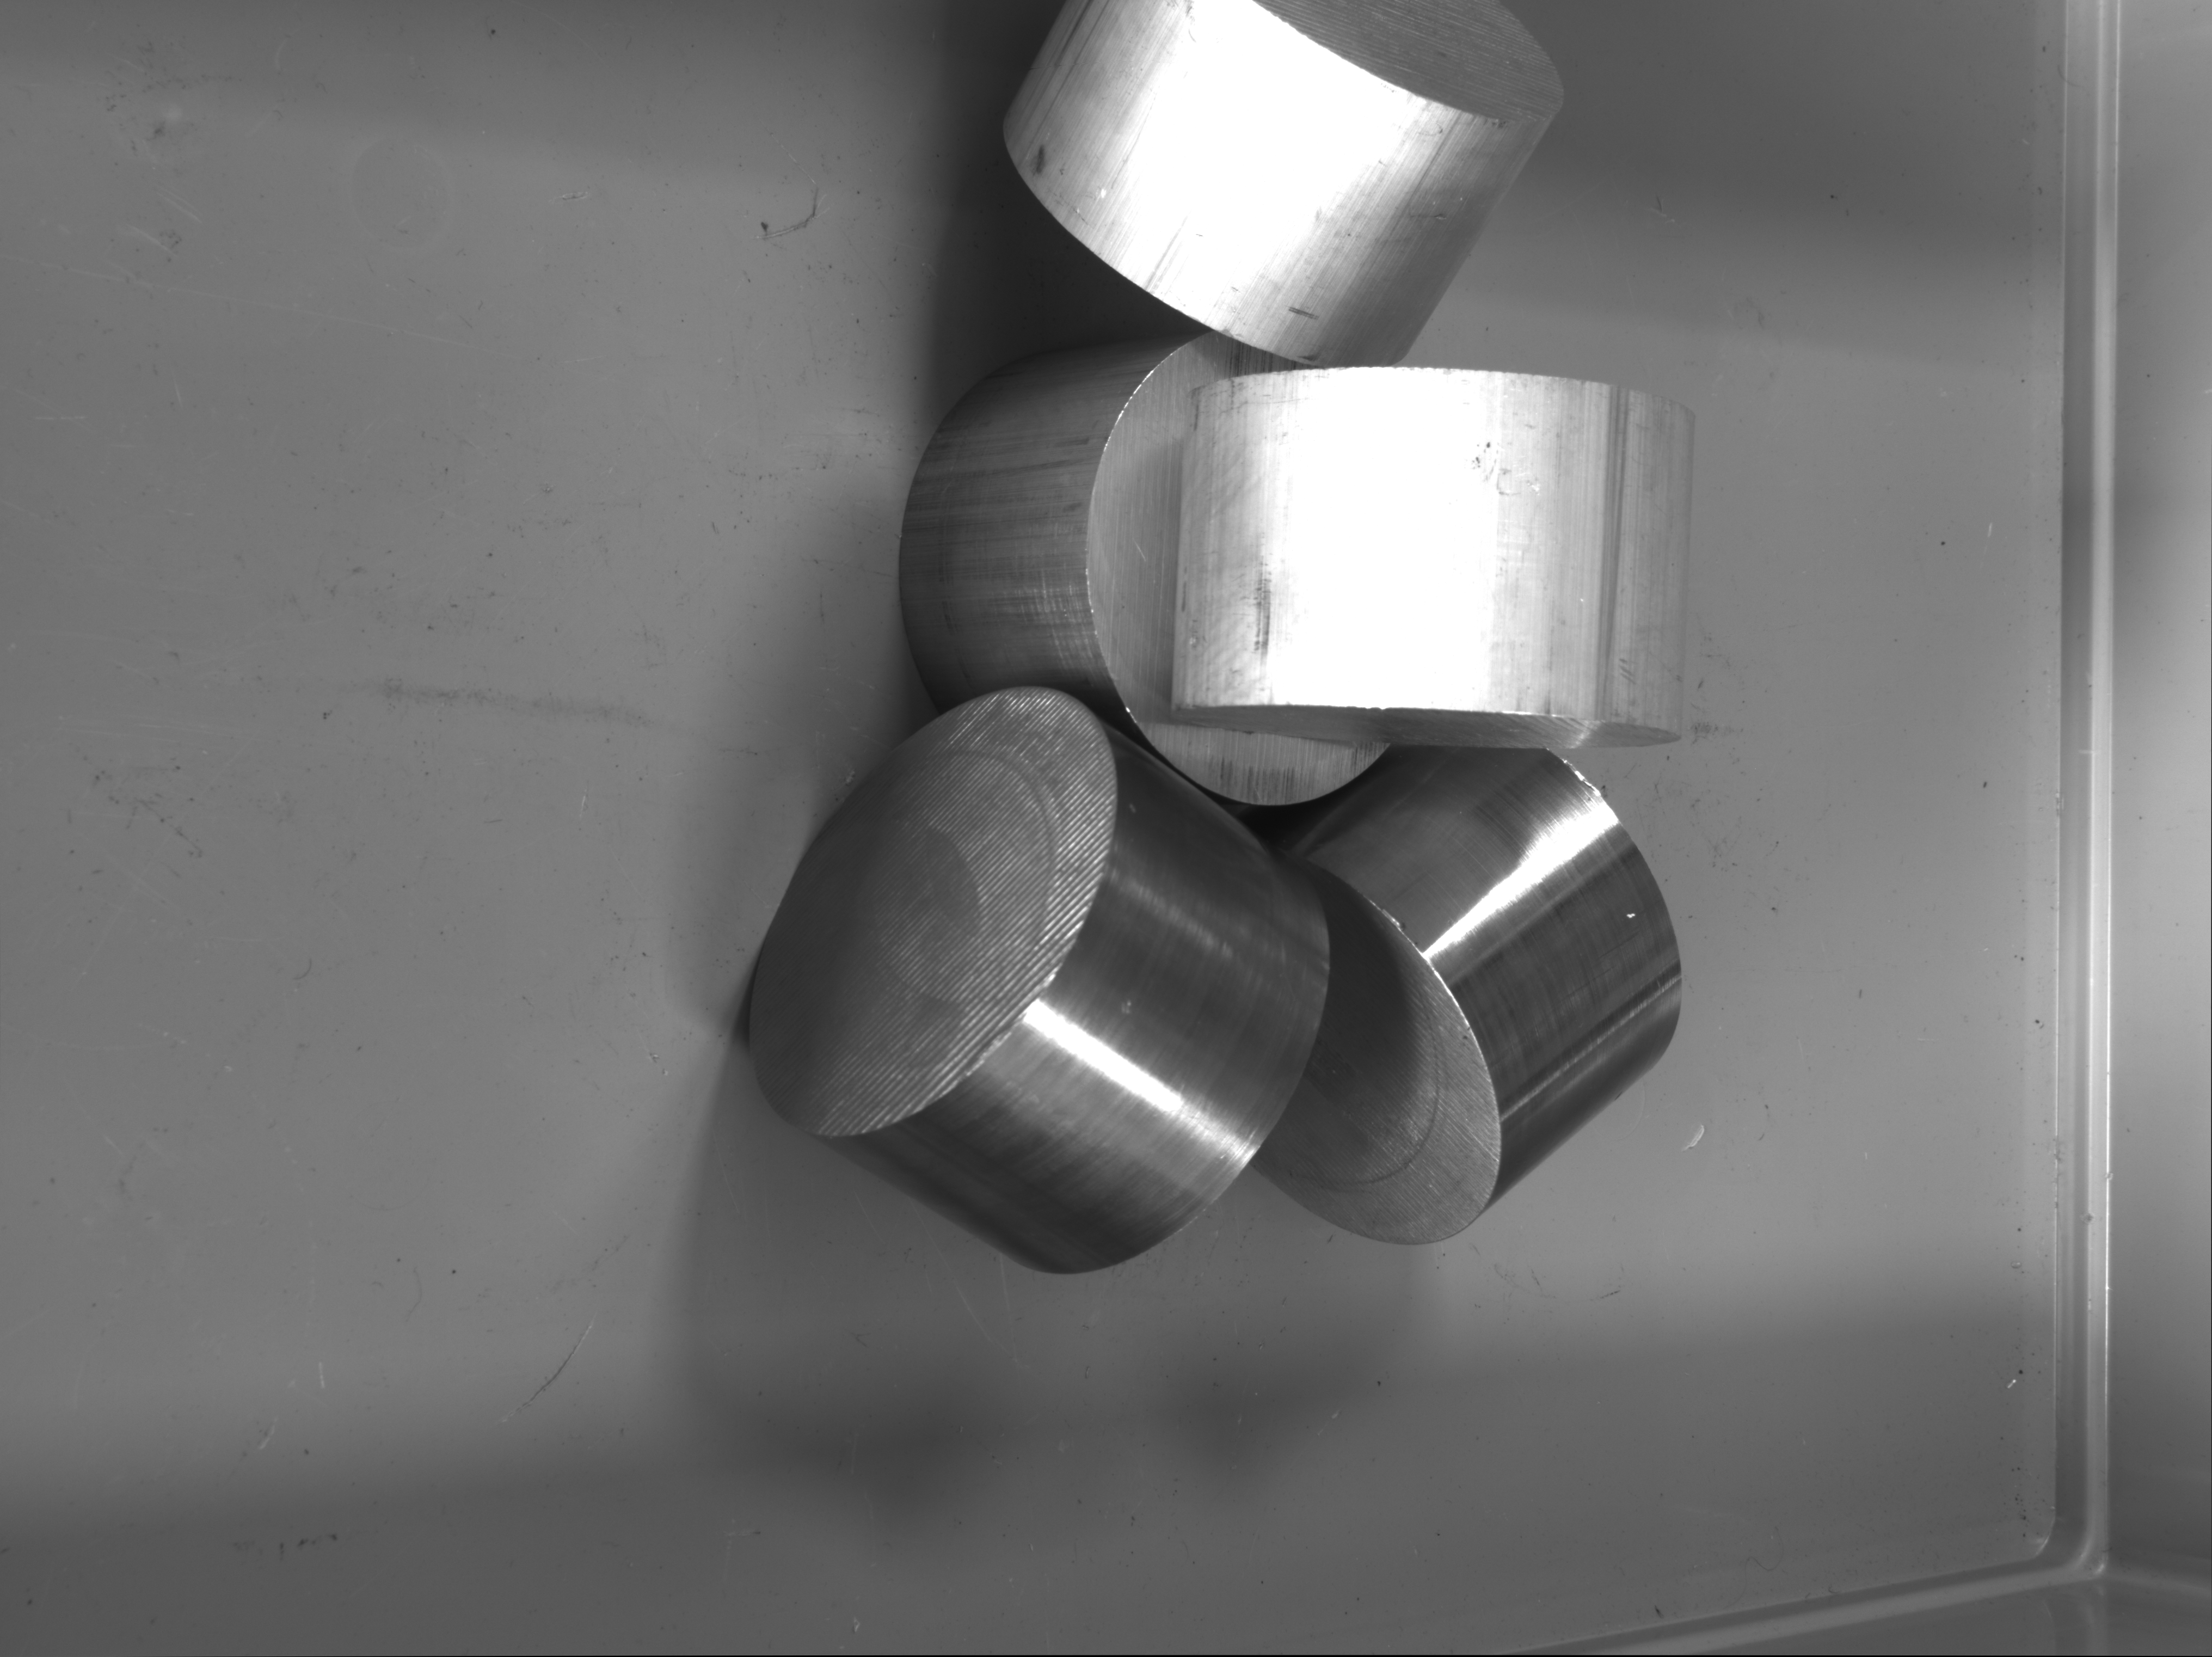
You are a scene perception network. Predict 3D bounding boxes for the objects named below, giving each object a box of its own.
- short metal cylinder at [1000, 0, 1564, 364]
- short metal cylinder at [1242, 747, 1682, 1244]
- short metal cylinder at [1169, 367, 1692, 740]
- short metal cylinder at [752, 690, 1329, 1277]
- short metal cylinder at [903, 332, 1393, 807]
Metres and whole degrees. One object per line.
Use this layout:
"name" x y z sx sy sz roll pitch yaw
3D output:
"short metal cylinder" 0.029 -0.121 0.615 0.080 0.080 0.050 5 129 -40
"short metal cylinder" 0.053 0.025 0.643 0.050 0.080 0.080 -35 111 -33
"short metal cylinder" 0.051 -0.041 0.576 0.080 0.080 0.050 4 87 -40
"short metal cylinder" -0.011 0.025 0.589 0.050 0.080 0.080 36 68 -34
"short metal cylinder" 0.012 -0.044 0.627 0.080 0.050 0.080 0 90 -40
